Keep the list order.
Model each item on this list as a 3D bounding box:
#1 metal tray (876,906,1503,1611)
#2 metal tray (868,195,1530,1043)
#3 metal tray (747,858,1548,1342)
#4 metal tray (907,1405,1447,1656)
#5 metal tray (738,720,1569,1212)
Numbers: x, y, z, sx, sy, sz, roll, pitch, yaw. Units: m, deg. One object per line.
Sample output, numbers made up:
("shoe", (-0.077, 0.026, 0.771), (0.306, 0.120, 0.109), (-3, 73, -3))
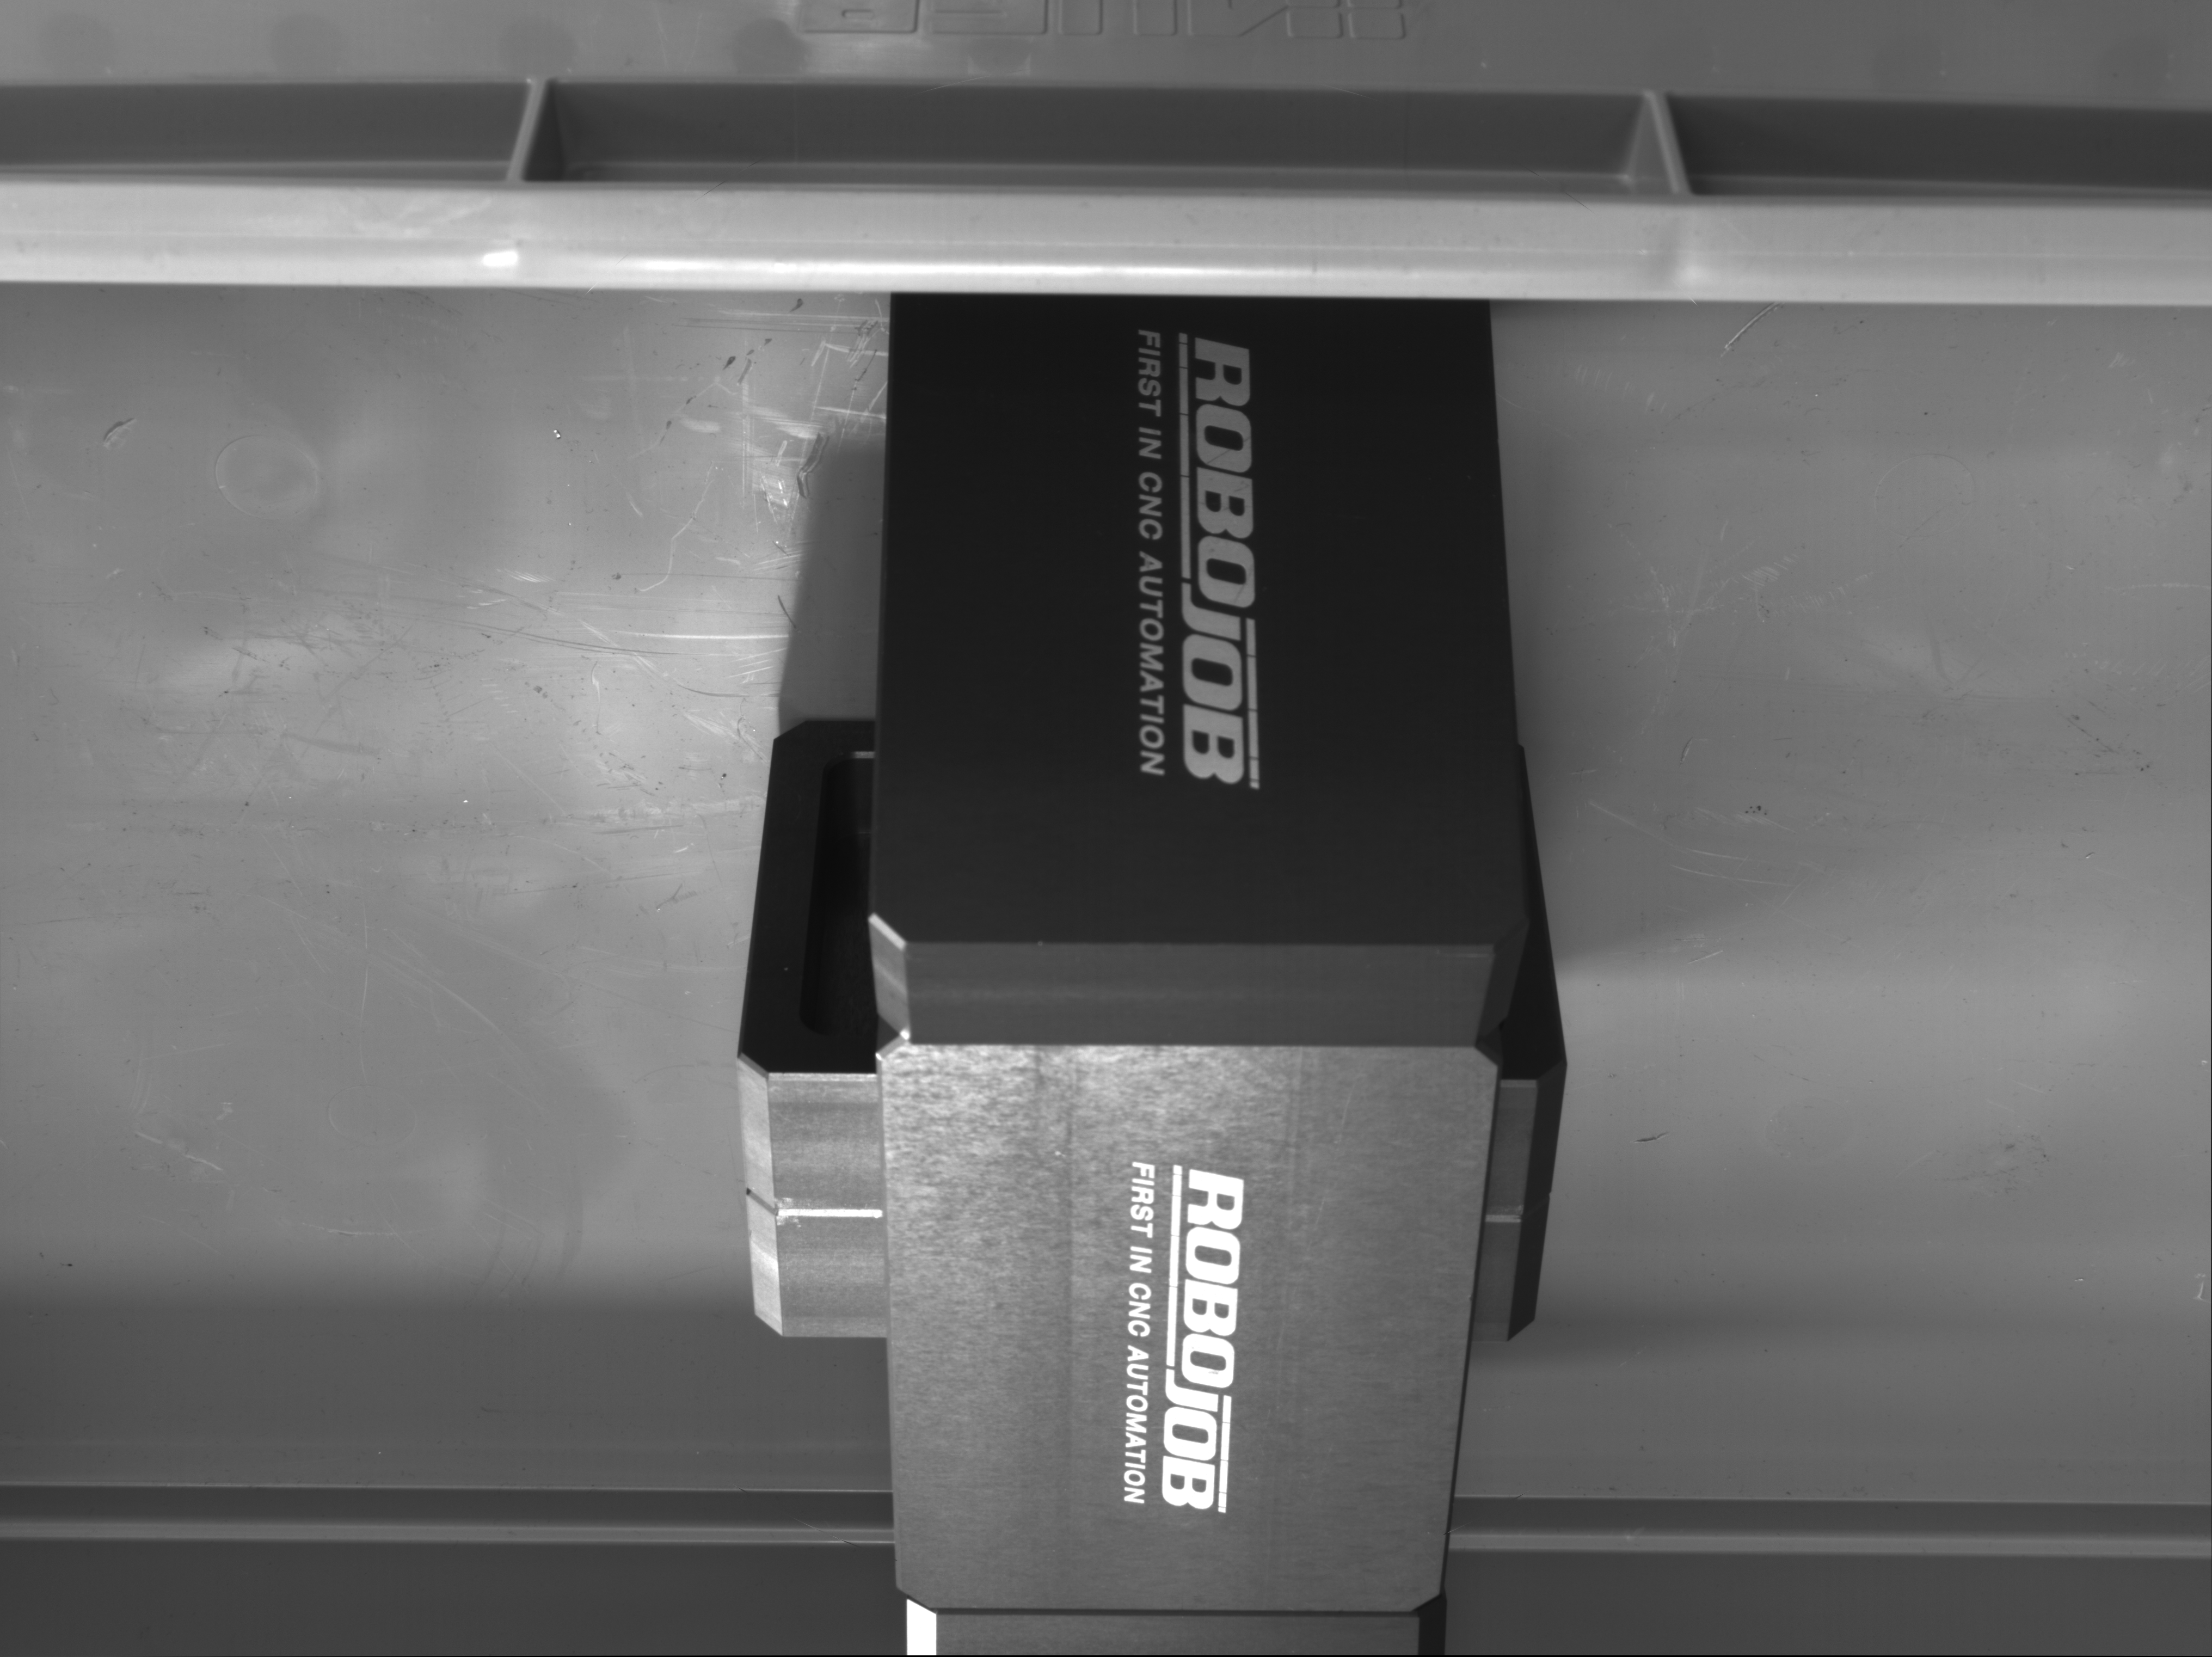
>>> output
("metal tray", (0.011, 0.070, 0.576), (0.090, 0.030, 0.130), (0, 130, -1))
("metal tray", (0.013, -0.033, 0.541), (0.090, 0.130, 0.030), (1, 150, -1))
("metal tray", (0.007, 0.045, 0.634), (0.130, 0.090, 0.030), (1, 130, -1))
("metal tray", (0.011, 0.124, 0.671), (0.090, 0.130, 0.030), (0, 108, -1))
("metal tray", (0.008, 0.021, 0.614), (0.130, 0.090, 0.030), (1, 130, -1))
